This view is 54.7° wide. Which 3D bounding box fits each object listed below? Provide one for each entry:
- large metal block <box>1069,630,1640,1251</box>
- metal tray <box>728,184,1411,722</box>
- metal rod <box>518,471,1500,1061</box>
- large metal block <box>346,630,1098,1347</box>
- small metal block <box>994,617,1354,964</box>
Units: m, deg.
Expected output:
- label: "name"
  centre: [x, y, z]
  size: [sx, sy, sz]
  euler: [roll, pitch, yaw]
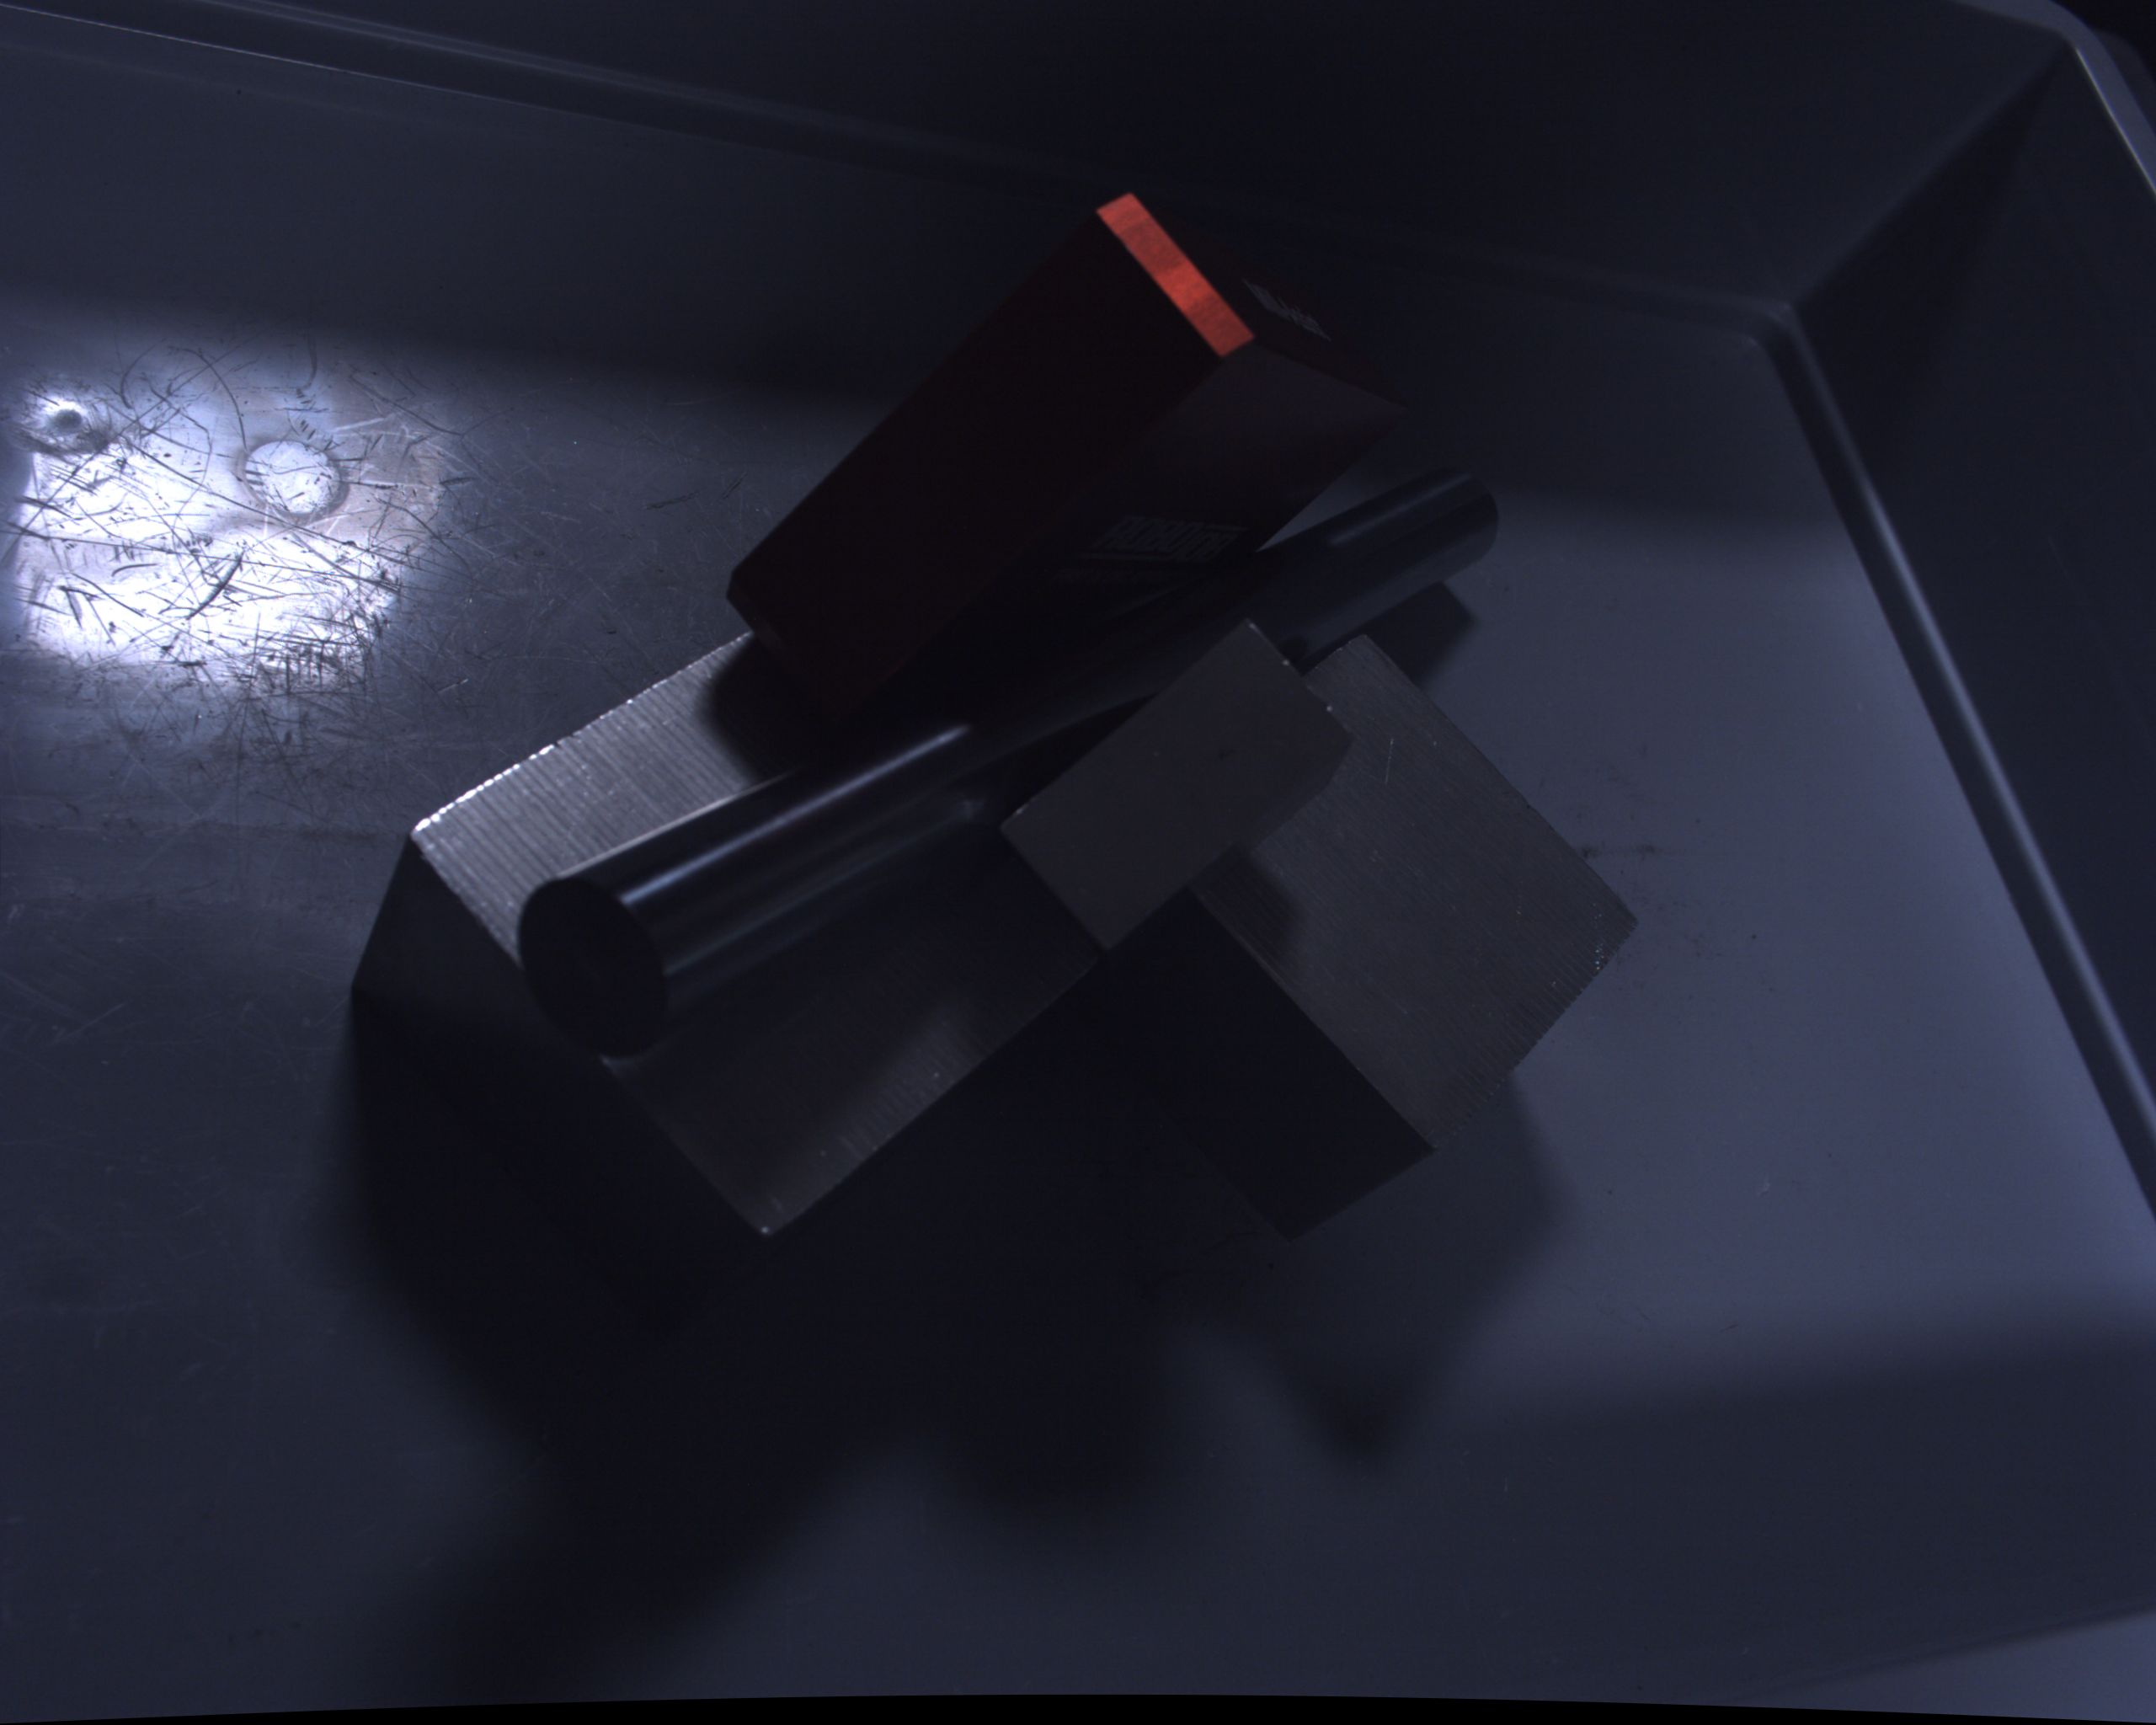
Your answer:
- label: "large metal block"
  centre: [0.048, 0.014, 0.407]
  size: [0.080, 0.050, 0.080]
  euler: [47, 51, 5]
- label: "metal tray"
  centre: [0.005, -0.068, 0.373]
  size: [0.030, 0.090, 0.131]
  euler: [52, 19, 7]
- label: "metal rod"
  centre: [0.014, -0.034, 0.386]
  size: [0.025, 0.025, 0.302]
  euler: [49, 36, 6]
- label: "large metal block"
  centre: [-0.058, 0.018, 0.344]
  size: [0.080, 0.050, 0.080]
  euler: [47, 51, 5]
- label: "small metal block"
  centre: [0.016, -0.009, 0.341]
  size: [0.050, 0.050, 0.025]
  euler: [-40, 83, -2]
